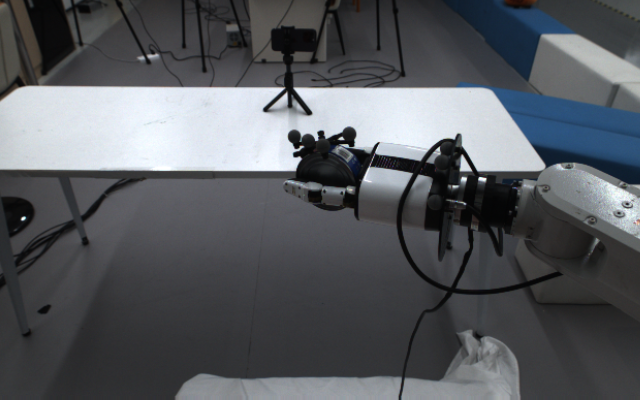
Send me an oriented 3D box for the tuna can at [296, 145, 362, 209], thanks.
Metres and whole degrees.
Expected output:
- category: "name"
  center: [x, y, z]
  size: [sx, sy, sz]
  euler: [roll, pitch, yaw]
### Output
- category: "tuna can"
  center: [0.015, -0.031, 0.639]
  size: [0.085, 0.085, 0.034]
  euler: [17, 36, 20]
